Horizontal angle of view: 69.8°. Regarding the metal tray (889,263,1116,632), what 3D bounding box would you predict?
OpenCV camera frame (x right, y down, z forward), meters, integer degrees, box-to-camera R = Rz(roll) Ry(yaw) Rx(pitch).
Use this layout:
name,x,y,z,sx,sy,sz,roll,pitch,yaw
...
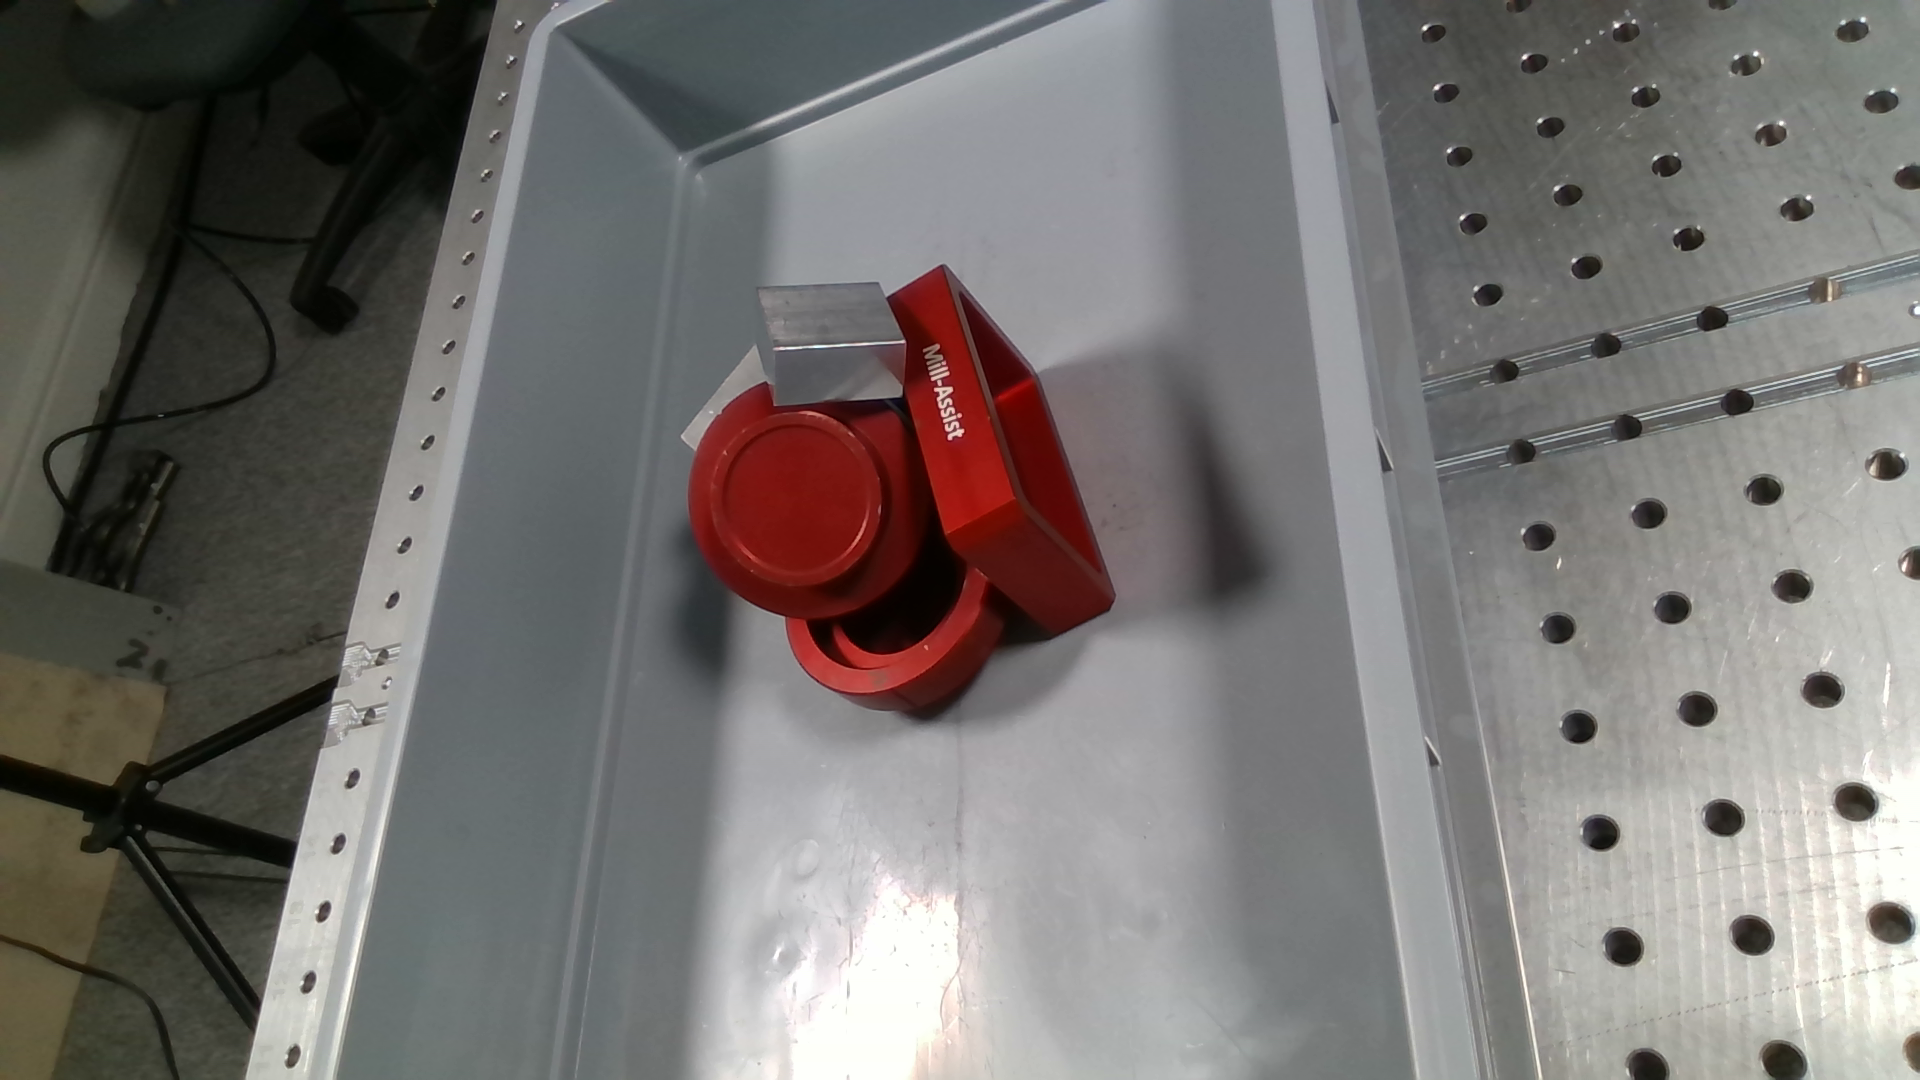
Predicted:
name,x,y,z,sx,sy,sz,roll,pitch,yaw
metal tray,0.015,-0.037,0.552,0.030,0.090,0.130,-28,54,17

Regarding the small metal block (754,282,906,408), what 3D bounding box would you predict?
name,x,y,z,sx,sy,sz,roll,pitch,yaw
small metal block,-0.052,-0.077,0.538,0.050,0.025,0.050,-6,38,-14

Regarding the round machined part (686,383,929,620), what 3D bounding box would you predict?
name,x,y,z,sx,sy,sz,roll,pitch,yaw
round machined part,-0.061,-0.017,0.545,0.098,0.042,0.098,1,95,6

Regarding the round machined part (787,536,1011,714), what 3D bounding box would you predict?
name,x,y,z,sx,sy,sz,roll,pitch,yaw
round machined part,-0.020,0.026,0.573,0.098,0.042,0.098,-14,59,25

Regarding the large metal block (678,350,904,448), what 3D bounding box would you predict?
name,x,y,z,sx,sy,sz,roll,pitch,yaw
large metal block,-0.063,-0.046,0.612,0.080,0.080,0.050,-51,51,-1
